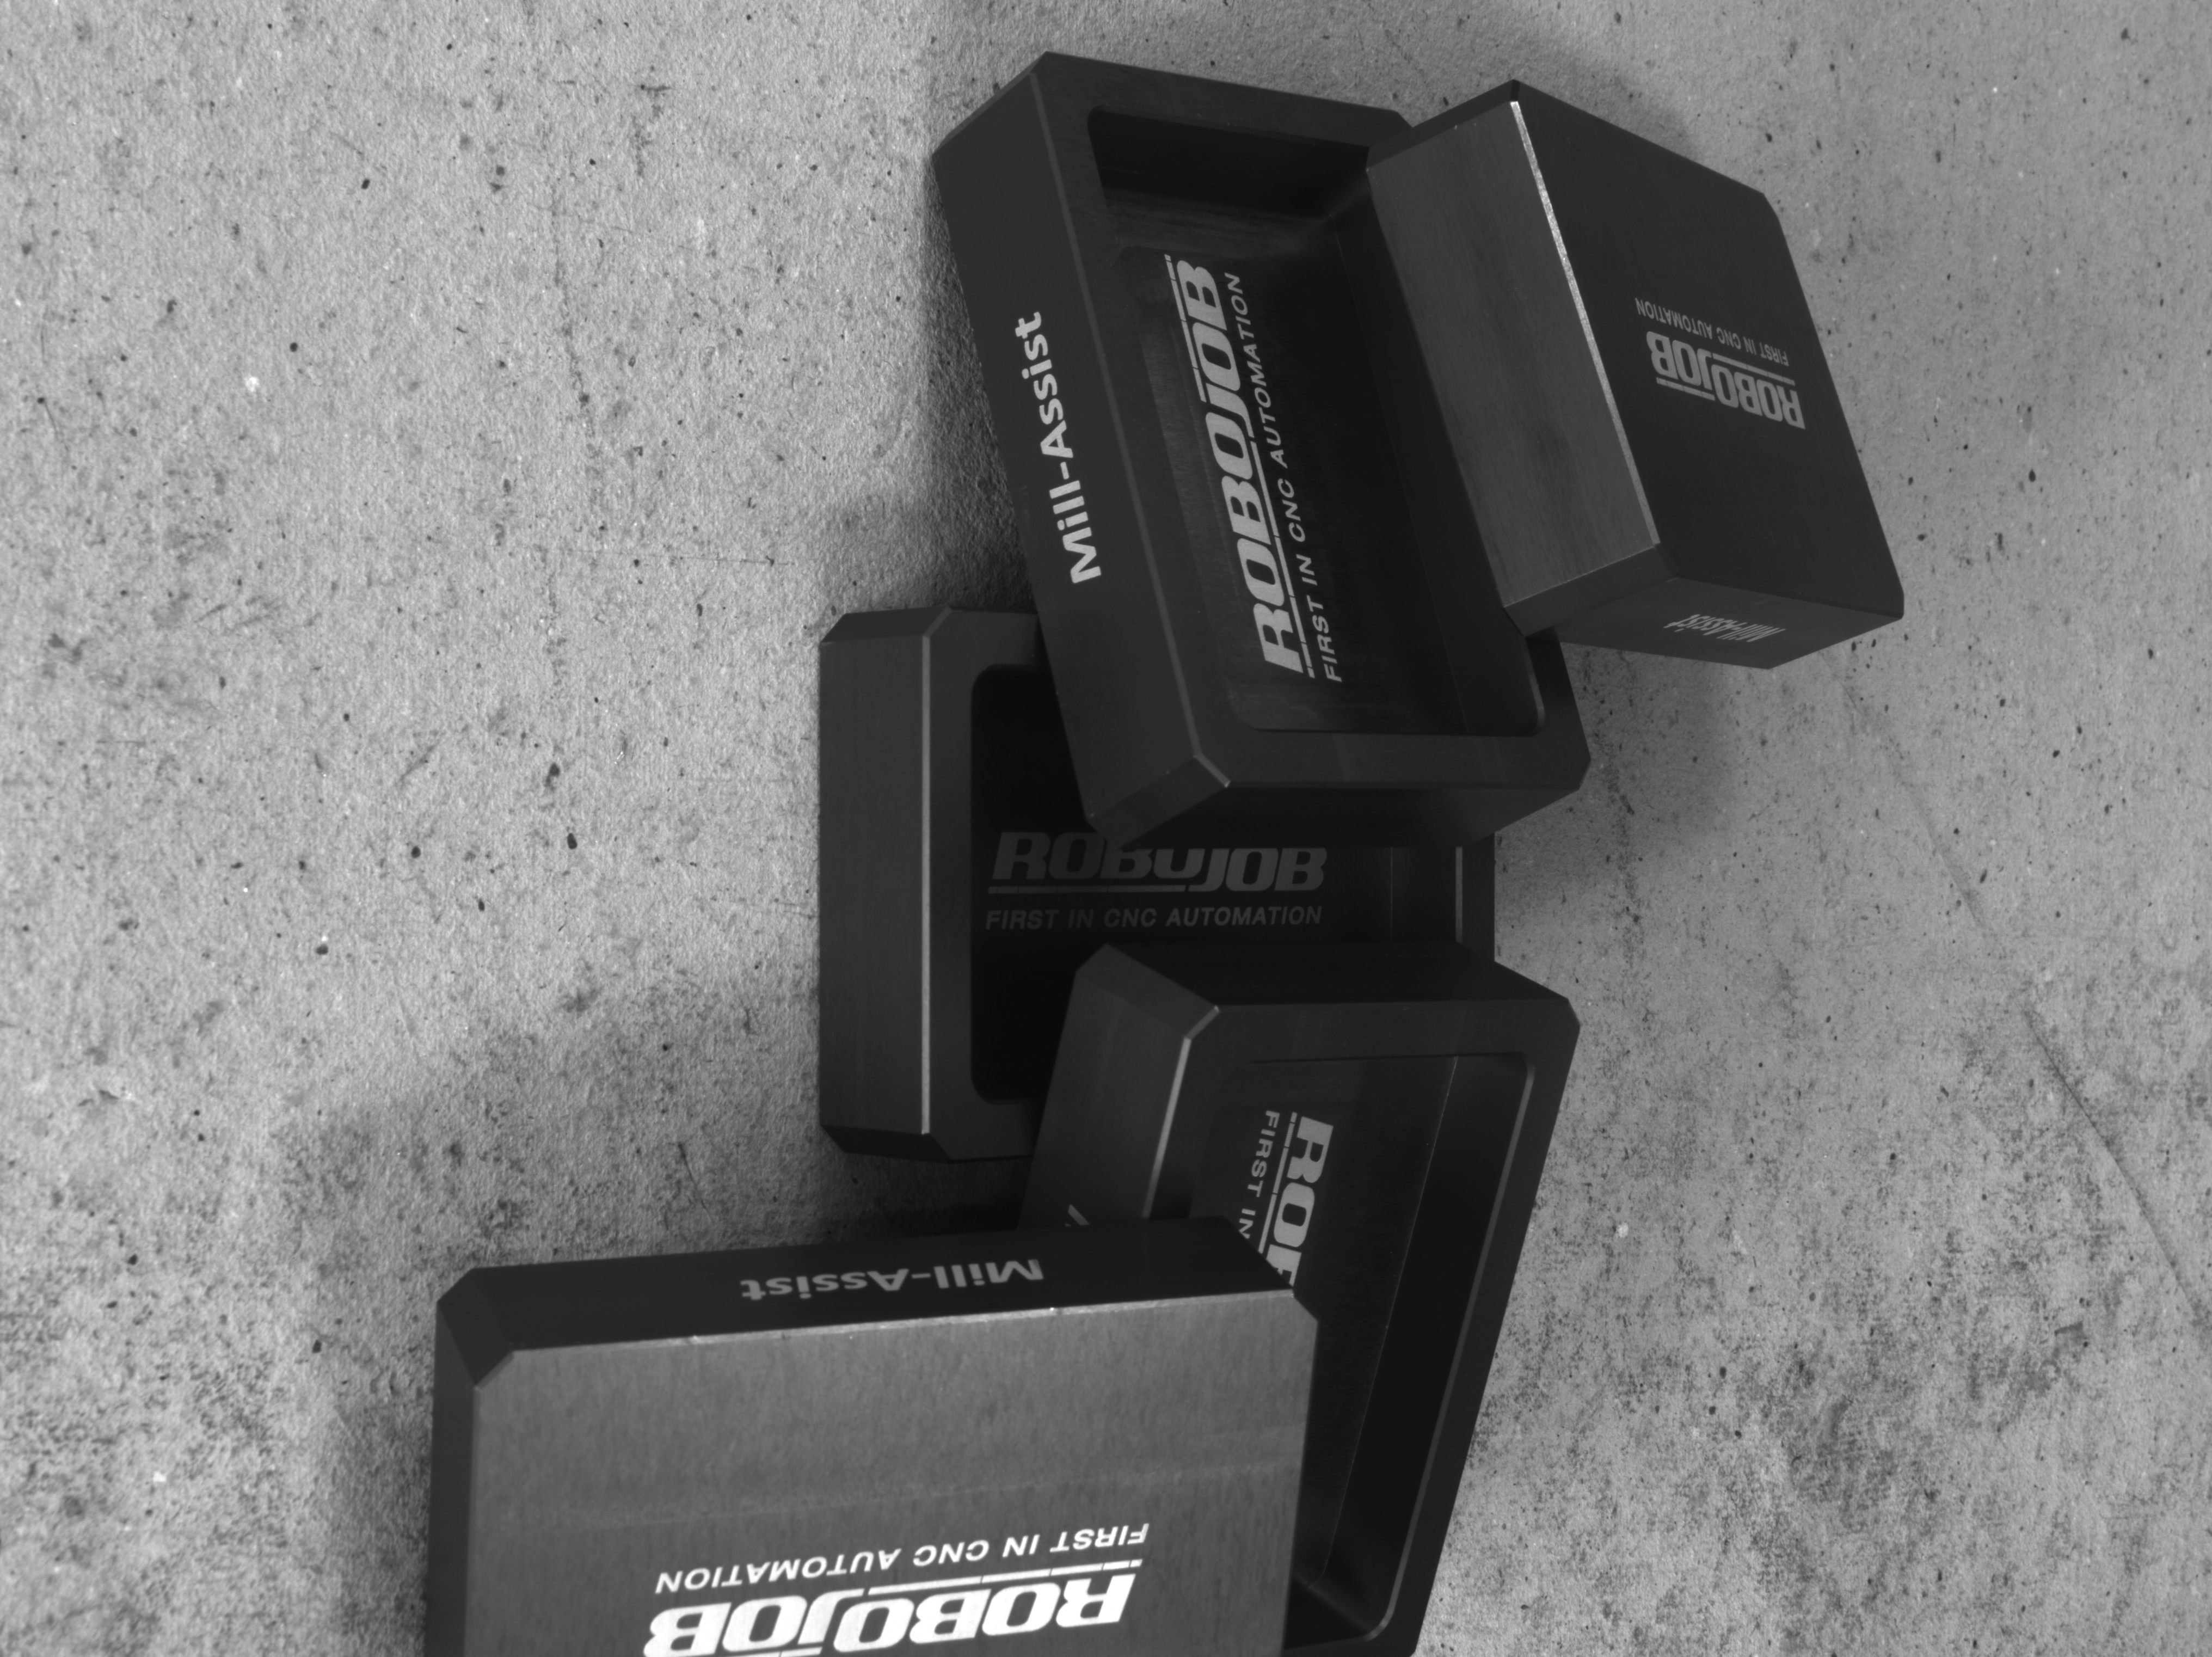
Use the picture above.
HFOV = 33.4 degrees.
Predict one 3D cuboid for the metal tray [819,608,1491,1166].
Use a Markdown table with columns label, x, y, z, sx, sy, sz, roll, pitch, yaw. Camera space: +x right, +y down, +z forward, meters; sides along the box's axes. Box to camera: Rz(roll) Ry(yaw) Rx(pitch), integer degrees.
| label | x | y | z | sx | sy | sz | roll | pitch | yaw |
| --- | --- | --- | --- | --- | --- | --- | --- | --- | --- |
| metal tray | 0.011 | 0.010 | 0.643 | 0.130 | 0.030 | 0.090 | 0 | 90 | -40 |

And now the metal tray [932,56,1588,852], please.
| label | x | y | z | sx | sy | sz | roll | pitch | yaw |
| --- | --- | --- | --- | --- | --- | --- | --- | --- | --- |
| metal tray | 0.027 | -0.062 | 0.630 | 0.090 | 0.030 | 0.130 | 0 | 70 | -40 |

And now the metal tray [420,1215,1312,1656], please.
| label | x | y | z | sx | sy | sz | roll | pitch | yaw |
| --- | --- | --- | --- | --- | --- | --- | --- | --- | --- |
| metal tray | -0.037 | 0.111 | 0.564 | 0.130 | 0.030 | 0.090 | -2 | 108 | -22 |

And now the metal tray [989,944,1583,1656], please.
| label | x | y | z | sx | sy | sz | roll | pitch | yaw |
| --- | --- | --- | --- | --- | --- | --- | --- | --- | --- |
| metal tray | 0.026 | 0.086 | 0.628 | 0.090 | 0.030 | 0.130 | 1 | 108 | -39 |

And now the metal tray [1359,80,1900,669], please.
| label | x | y | z | sx | sy | sz | roll | pitch | yaw |
| --- | --- | --- | --- | --- | --- | --- | --- | --- | --- |
| metal tray | 0.099 | -0.079 | 0.674 | 0.130 | 0.030 | 0.090 | 1 | 70 | -60 |
